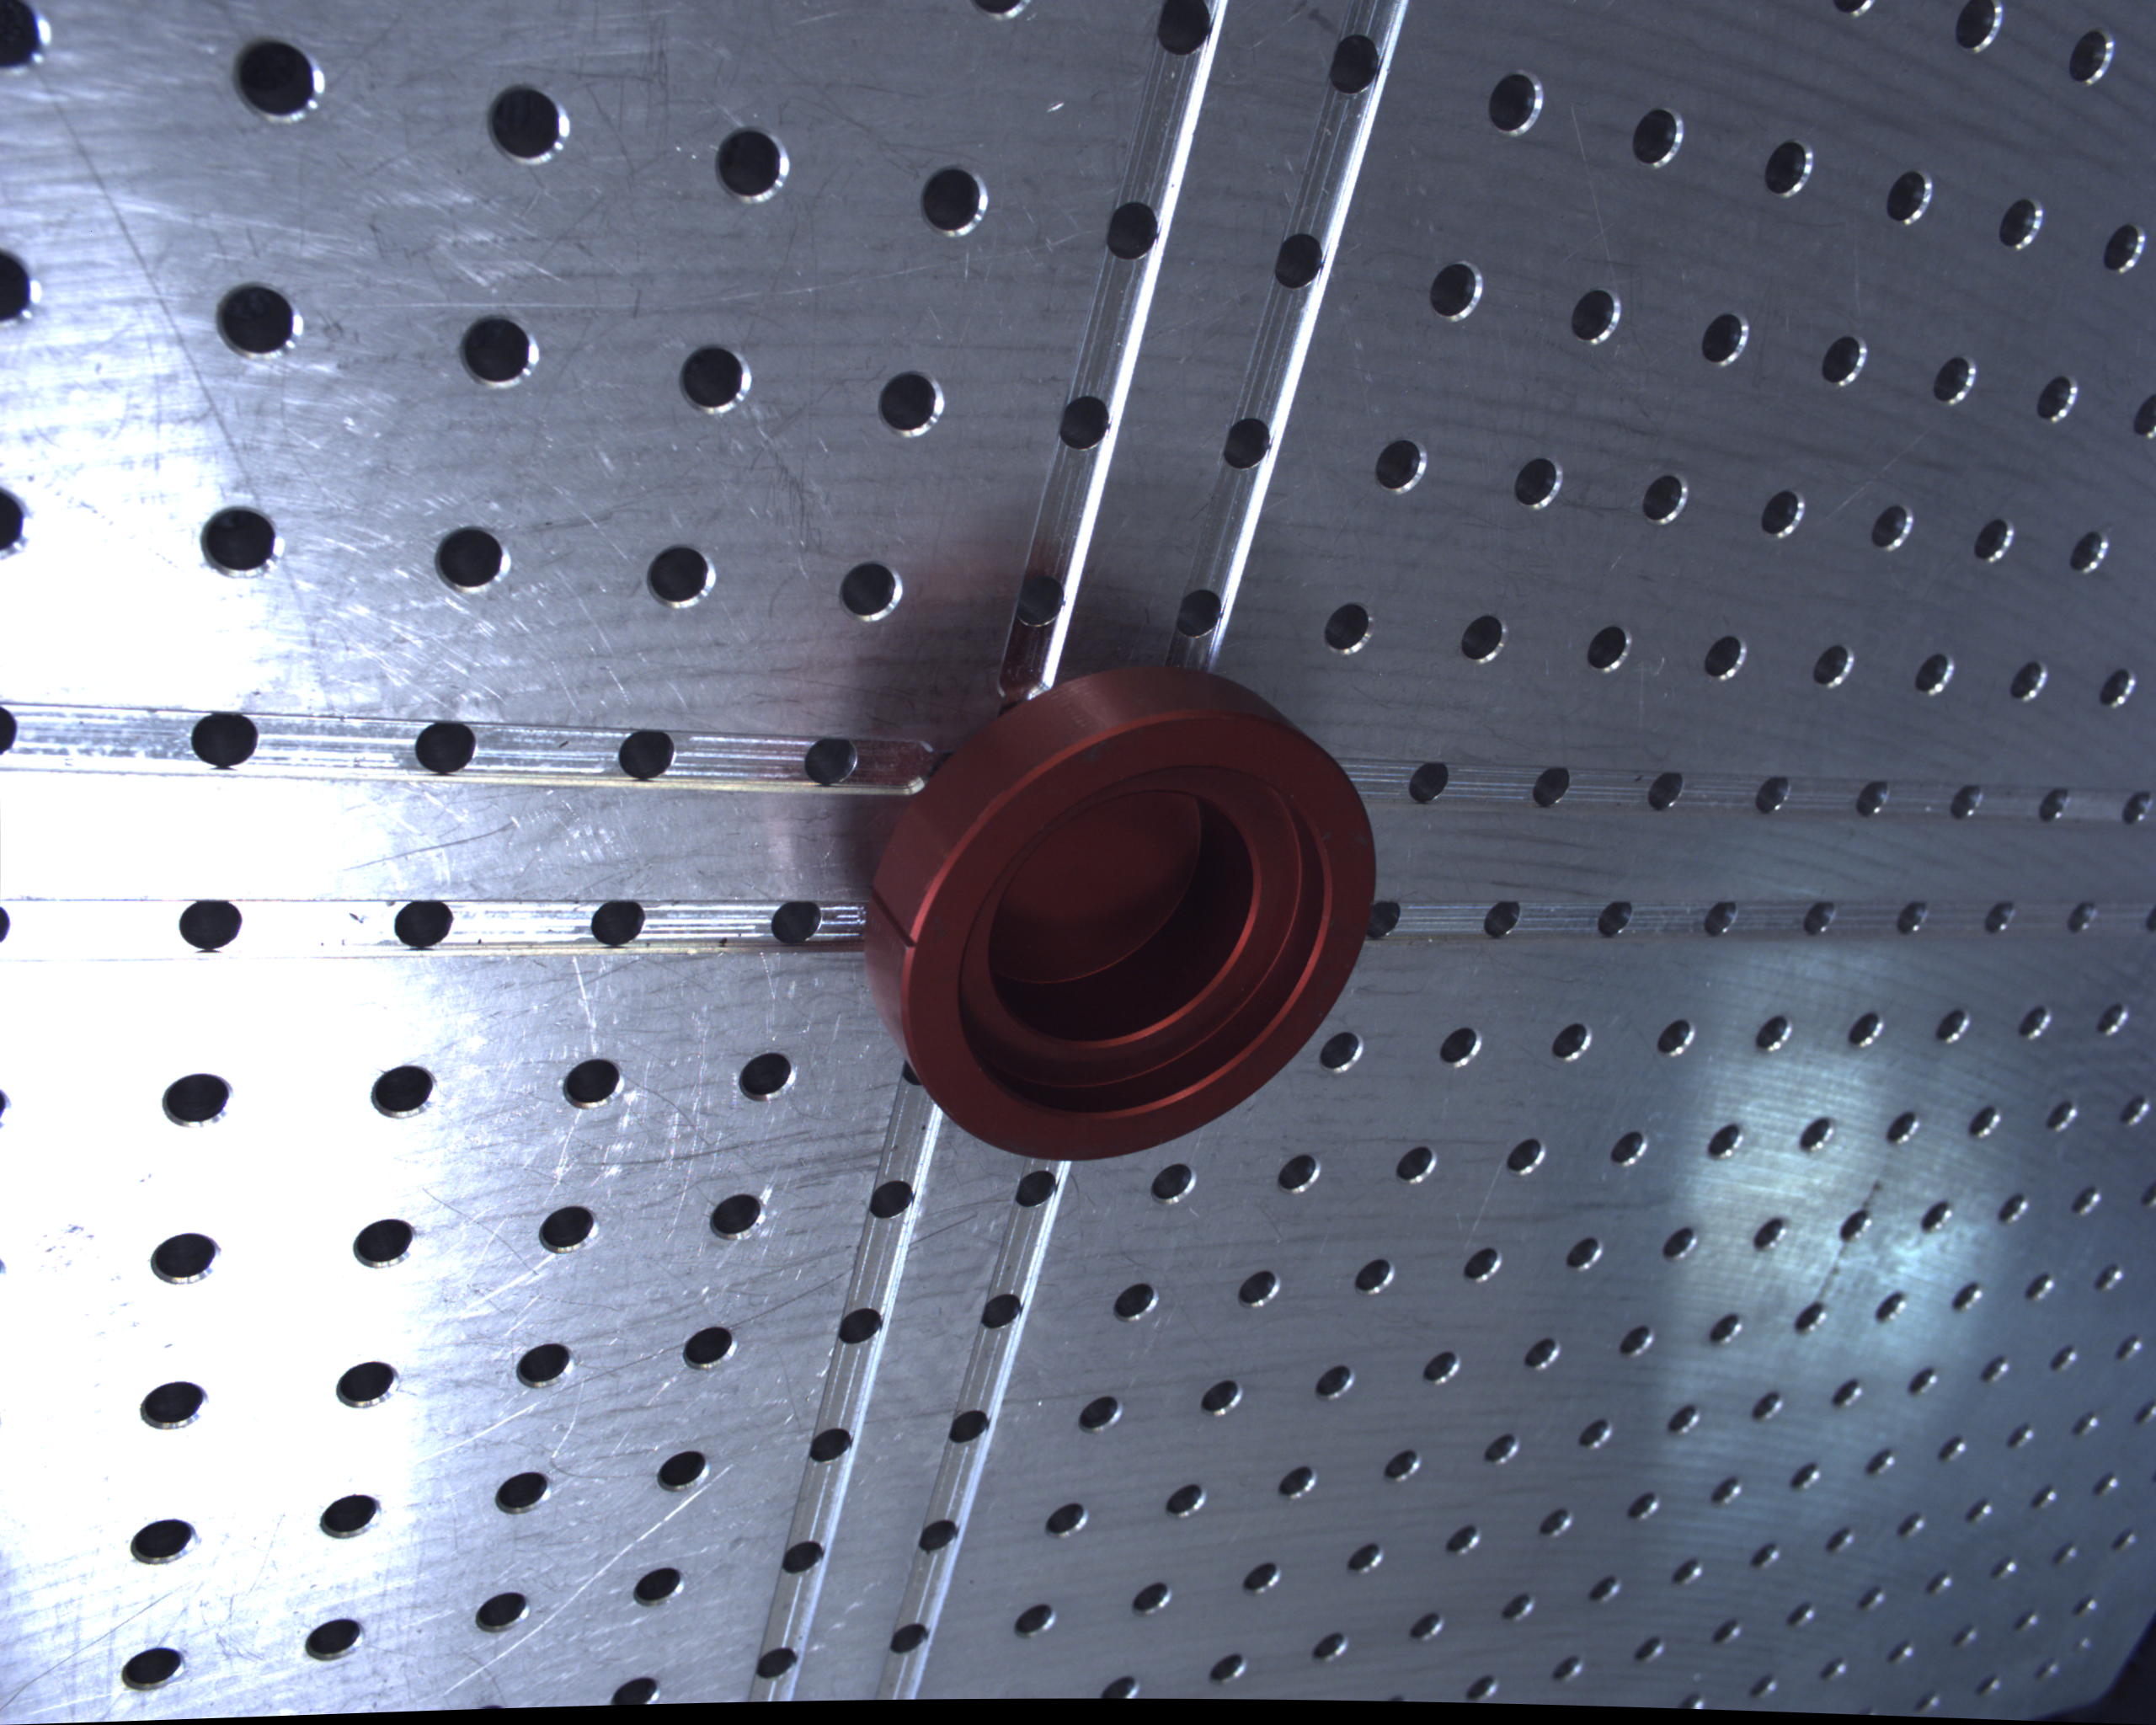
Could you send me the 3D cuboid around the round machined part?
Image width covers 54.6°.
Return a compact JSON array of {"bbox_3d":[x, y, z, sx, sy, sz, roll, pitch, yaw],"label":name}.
[{"bbox_3d":[0.005,0.006,0.405,0.099,0.042,0.097,-14,124,-21],"label":"round machined part"}]
